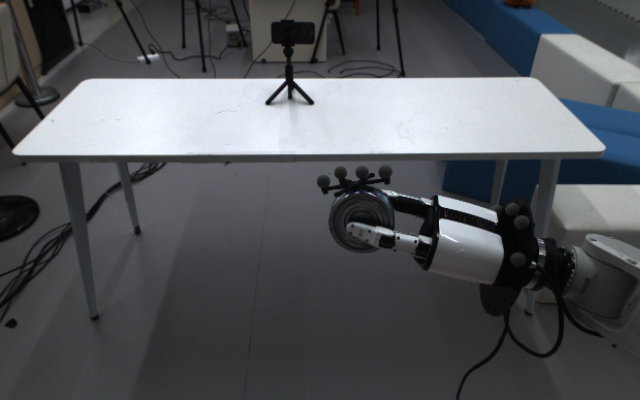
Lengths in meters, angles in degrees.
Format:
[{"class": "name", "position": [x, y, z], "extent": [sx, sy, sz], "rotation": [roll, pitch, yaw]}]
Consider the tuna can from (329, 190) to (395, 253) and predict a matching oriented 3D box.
[{"class": "tuna can", "position": [0.058, 0.031, 0.628], "extent": [0.085, 0.085, 0.034], "rotation": [6, 18, 5]}]
